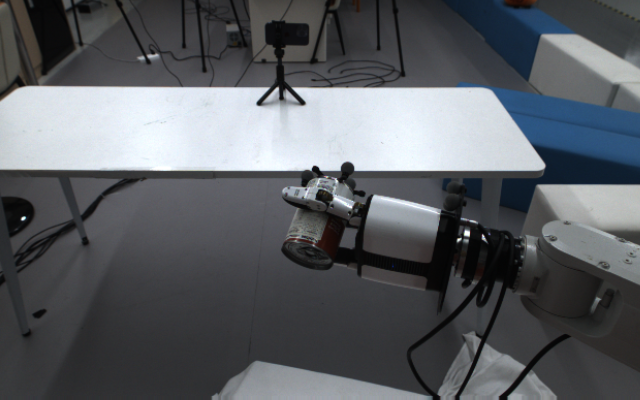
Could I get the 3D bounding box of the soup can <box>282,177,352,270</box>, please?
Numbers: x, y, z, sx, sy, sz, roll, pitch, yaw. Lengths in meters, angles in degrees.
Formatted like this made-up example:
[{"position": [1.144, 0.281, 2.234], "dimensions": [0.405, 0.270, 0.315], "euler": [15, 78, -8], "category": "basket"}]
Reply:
[{"position": [0.000, 0.027, 0.614], "dimensions": [0.067, 0.067, 0.101], "euler": [12, 59, 14], "category": "soup can"}]
